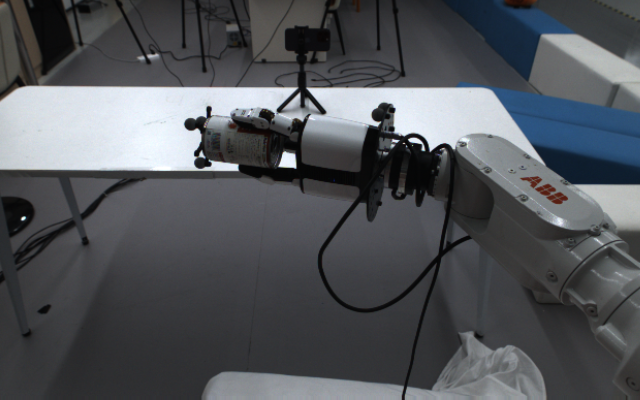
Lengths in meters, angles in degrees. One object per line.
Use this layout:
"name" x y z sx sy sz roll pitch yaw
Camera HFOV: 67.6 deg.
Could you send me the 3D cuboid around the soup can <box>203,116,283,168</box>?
"soup can" -0.108 -0.083 0.694 0.101 0.067 0.067 8 35 9
